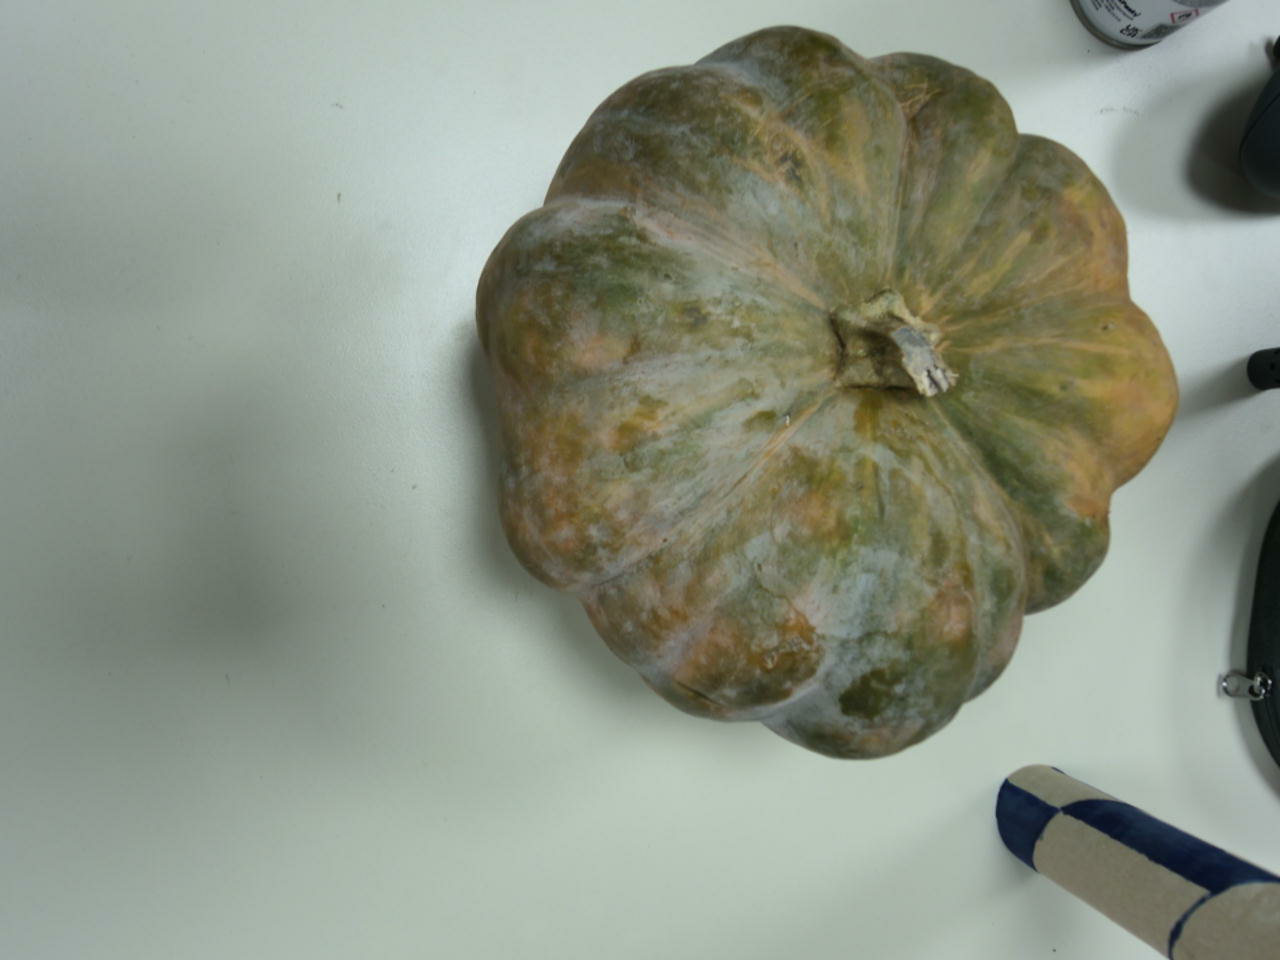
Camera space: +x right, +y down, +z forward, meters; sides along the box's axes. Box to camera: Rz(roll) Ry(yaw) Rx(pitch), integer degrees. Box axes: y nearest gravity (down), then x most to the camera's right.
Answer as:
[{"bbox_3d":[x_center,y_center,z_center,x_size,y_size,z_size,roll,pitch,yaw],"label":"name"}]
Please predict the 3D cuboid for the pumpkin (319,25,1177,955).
[{"bbox_3d":[0.063,-0.037,0.365,0.252,0.169,0.252,0,91,-12],"label":"pumpkin"}]
